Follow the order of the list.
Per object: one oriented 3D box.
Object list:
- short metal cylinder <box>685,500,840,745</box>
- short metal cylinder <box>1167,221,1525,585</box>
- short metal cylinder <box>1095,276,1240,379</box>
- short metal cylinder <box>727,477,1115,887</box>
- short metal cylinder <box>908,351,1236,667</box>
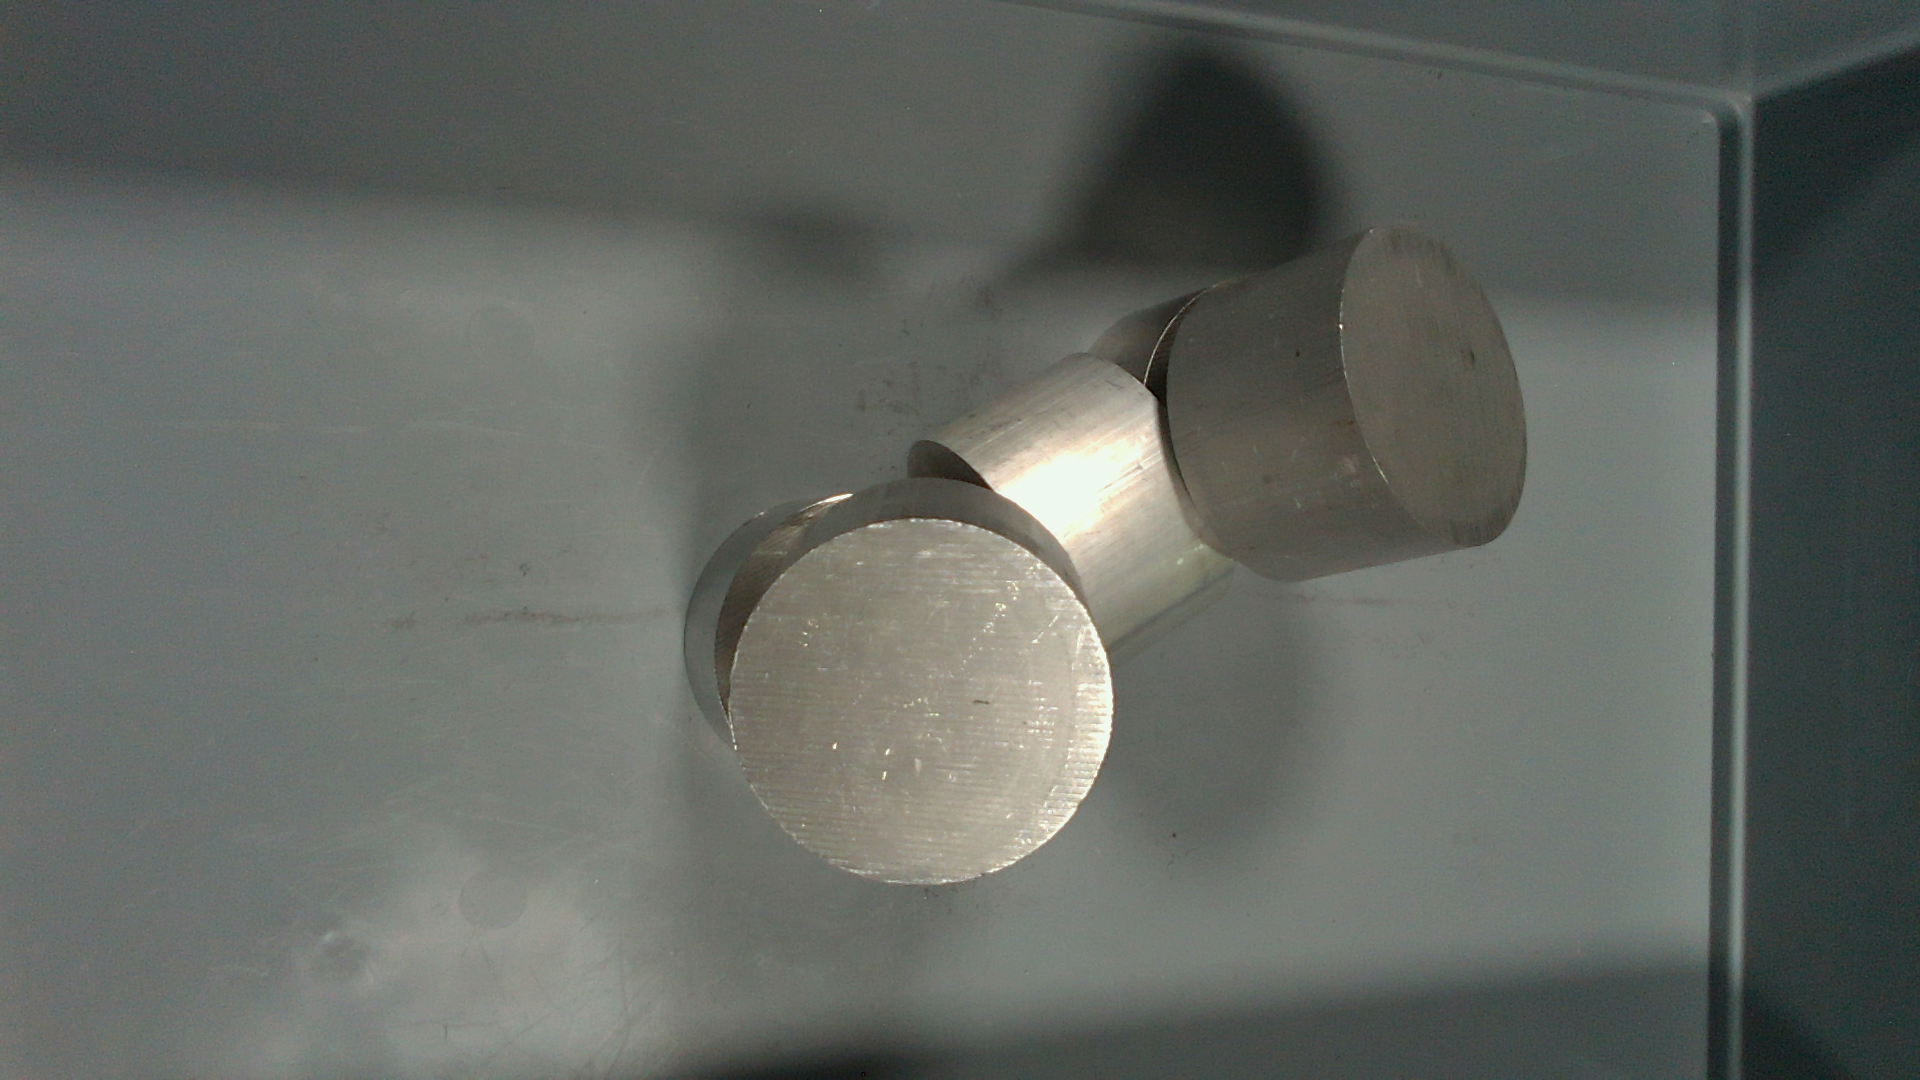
[{"bbox_3d":[-0.030,0.029,0.368,0.080,0.050,0.080,0,90,-20],"label":"short metal cylinder"},{"bbox_3d":[0.098,-0.033,0.345,0.080,0.050,0.080,13,70,-39],"label":"short metal cylinder"},{"bbox_3d":[0.078,-0.034,0.407,0.080,0.050,0.080,0,90,-20],"label":"short metal cylinder"},{"bbox_3d":[-0.008,0.029,0.308,0.080,0.050,0.080,0,102,0],"label":"short metal cylinder"},{"bbox_3d":[0.029,-0.004,0.373,0.050,0.080,0.080,-31,100,-17],"label":"short metal cylinder"}]
